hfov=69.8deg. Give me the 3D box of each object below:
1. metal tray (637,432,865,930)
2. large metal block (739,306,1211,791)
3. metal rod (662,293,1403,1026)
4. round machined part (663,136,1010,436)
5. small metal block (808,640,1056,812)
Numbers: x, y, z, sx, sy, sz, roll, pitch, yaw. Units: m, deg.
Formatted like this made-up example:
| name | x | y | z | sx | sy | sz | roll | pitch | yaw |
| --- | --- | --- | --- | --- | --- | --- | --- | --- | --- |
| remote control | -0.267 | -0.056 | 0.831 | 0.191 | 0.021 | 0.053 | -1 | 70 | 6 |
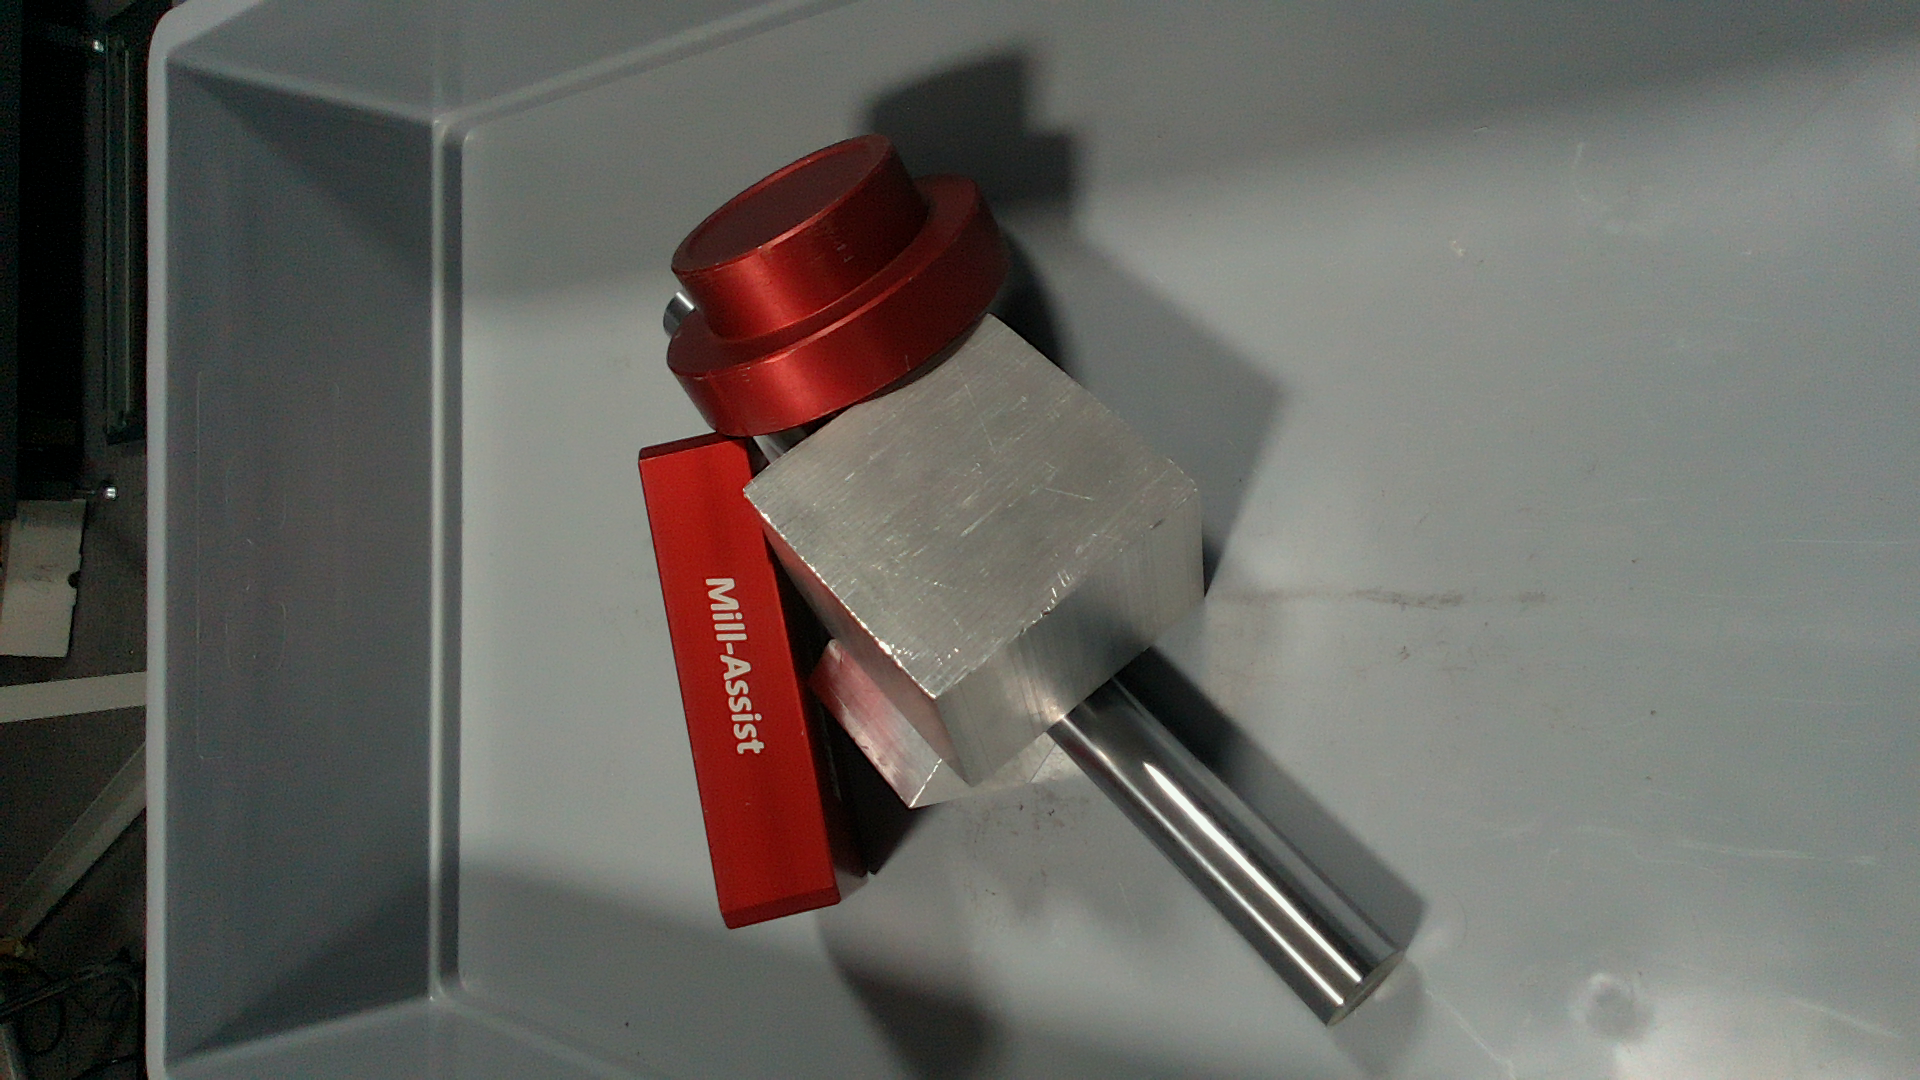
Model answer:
| name | x | y | z | sx | sy | sz | roll | pitch | yaw |
| --- | --- | --- | --- | --- | --- | --- | --- | --- | --- |
| metal tray | -0.058 | 0.041 | 0.402 | 0.030 | 0.090 | 0.130 | -13 | 79 | -1 |
| large metal block | 0.005 | 0.000 | 0.347 | 0.080 | 0.050 | 0.080 | -37 | 58 | -14 |
| metal rod | 0.001 | 0.013 | 0.392 | 0.299 | 0.025 | 0.025 | 44 | 117 | 31 |
| round machined part | -0.039 | -0.074 | 0.376 | 0.098 | 0.098 | 0.042 | -2 | 129 | 40 |
| small metal block | -0.006 | 0.045 | 0.381 | 0.050 | 0.050 | 0.025 | 46 | 117 | 30 |
